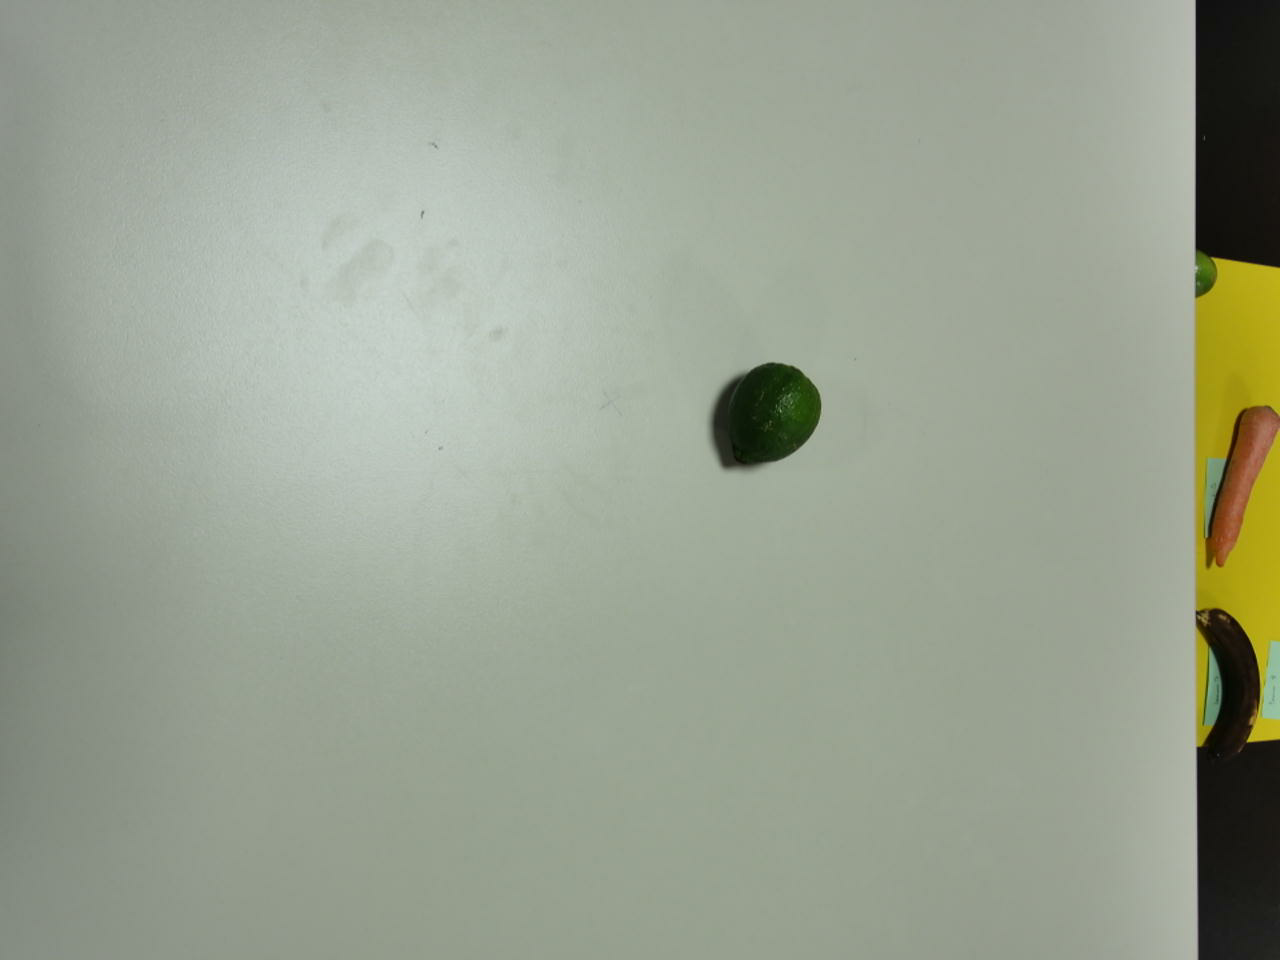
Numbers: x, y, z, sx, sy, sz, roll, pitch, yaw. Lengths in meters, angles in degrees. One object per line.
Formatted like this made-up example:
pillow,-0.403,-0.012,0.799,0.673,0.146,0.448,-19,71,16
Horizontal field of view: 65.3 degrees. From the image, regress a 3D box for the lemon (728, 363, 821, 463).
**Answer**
lemon,0.078,-0.039,0.579,0.054,0.051,0.057,-5,93,-22
